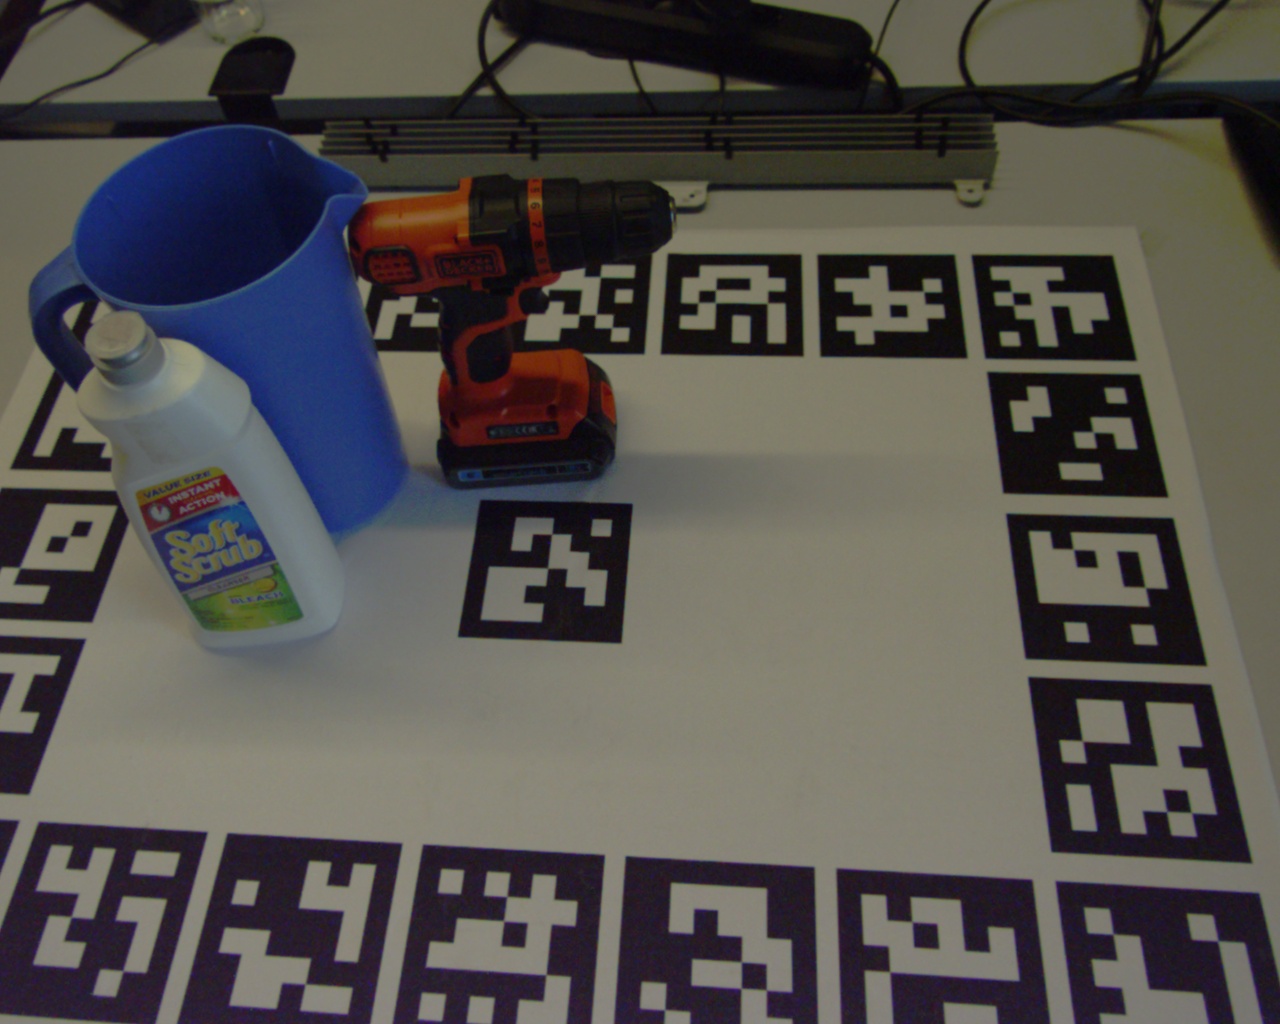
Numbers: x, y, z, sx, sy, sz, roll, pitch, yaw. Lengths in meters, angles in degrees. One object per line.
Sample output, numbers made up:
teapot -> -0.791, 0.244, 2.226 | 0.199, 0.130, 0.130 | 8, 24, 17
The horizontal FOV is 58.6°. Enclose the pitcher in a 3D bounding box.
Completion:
pitcher -> -0.233, -0.096, 0.702 | 0.188, 0.241, 0.134 | -22, 61, -9

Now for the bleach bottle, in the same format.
bleach bottle -> -0.251, -0.020, 0.633 | 0.103, 0.249, 0.068 | -6, 59, 1

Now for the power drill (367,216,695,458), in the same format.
power drill -> -0.064, -0.104, 0.702 | 0.184, 0.186, 0.057 | -1, 61, -3
